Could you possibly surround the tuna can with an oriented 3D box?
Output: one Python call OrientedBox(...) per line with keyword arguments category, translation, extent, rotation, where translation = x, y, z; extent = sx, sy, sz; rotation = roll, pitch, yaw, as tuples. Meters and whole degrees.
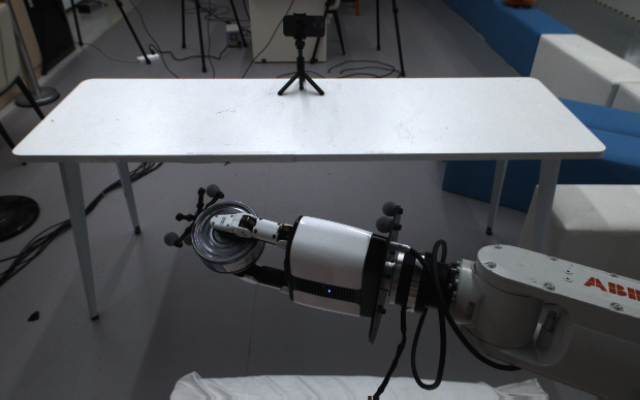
OrientedBox(category="tuna can", translation=(-0.107, 0.048, 0.585), extent=(0.085, 0.034, 0.085), rotation=(-1, 61, 2))
